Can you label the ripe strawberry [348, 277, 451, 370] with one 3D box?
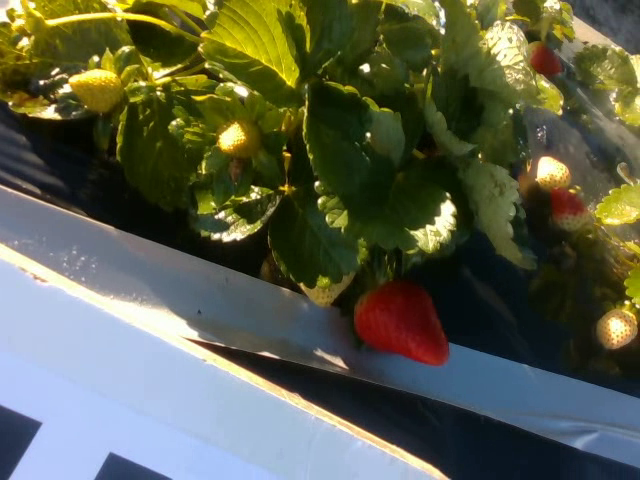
[{"bbox_3d":[0.041,0.043,0.307,0.045,0.049,0.063,-35,41,-9],"label":"ripe strawberry"}]
